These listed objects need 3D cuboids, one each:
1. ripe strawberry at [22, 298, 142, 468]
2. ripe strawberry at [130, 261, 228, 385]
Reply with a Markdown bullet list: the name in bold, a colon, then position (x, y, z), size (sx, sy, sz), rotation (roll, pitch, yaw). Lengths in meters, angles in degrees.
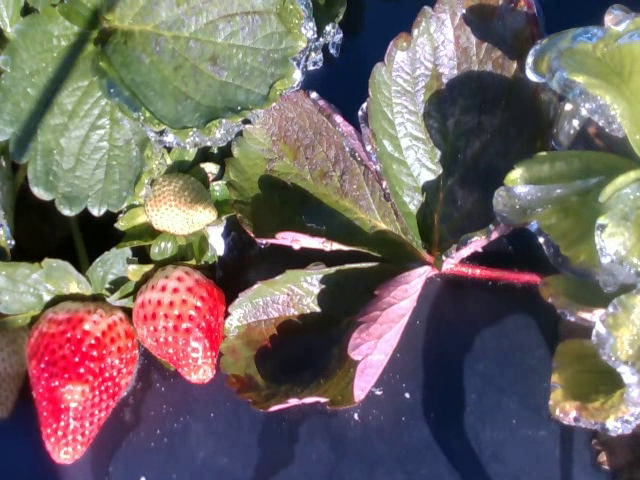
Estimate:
- **ripe strawberry**: position (-0.077, 0.048, 0.199), size (0.036, 0.052, 0.040), rotation (-19, -35, 29)
- **ripe strawberry**: position (-0.043, 0.028, 0.196), size (0.036, 0.041, 0.030), rotation (-47, -17, 28)
